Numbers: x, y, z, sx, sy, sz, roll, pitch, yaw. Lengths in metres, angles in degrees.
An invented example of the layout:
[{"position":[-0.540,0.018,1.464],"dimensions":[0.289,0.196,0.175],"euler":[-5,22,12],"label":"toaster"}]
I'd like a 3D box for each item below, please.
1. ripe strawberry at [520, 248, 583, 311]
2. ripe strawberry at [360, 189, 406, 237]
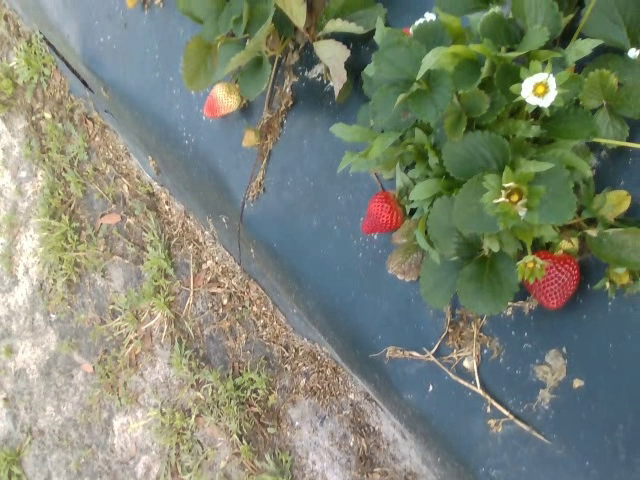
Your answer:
[{"position":[0.174,0.033,0.469],"dimensions":[0.047,0.046,0.043],"euler":[14,-32,-24],"label":"ripe strawberry"},{"position":[0.058,-0.023,0.569],"dimensions":[0.050,0.043,0.043],"euler":[-47,-26,22],"label":"ripe strawberry"}]
